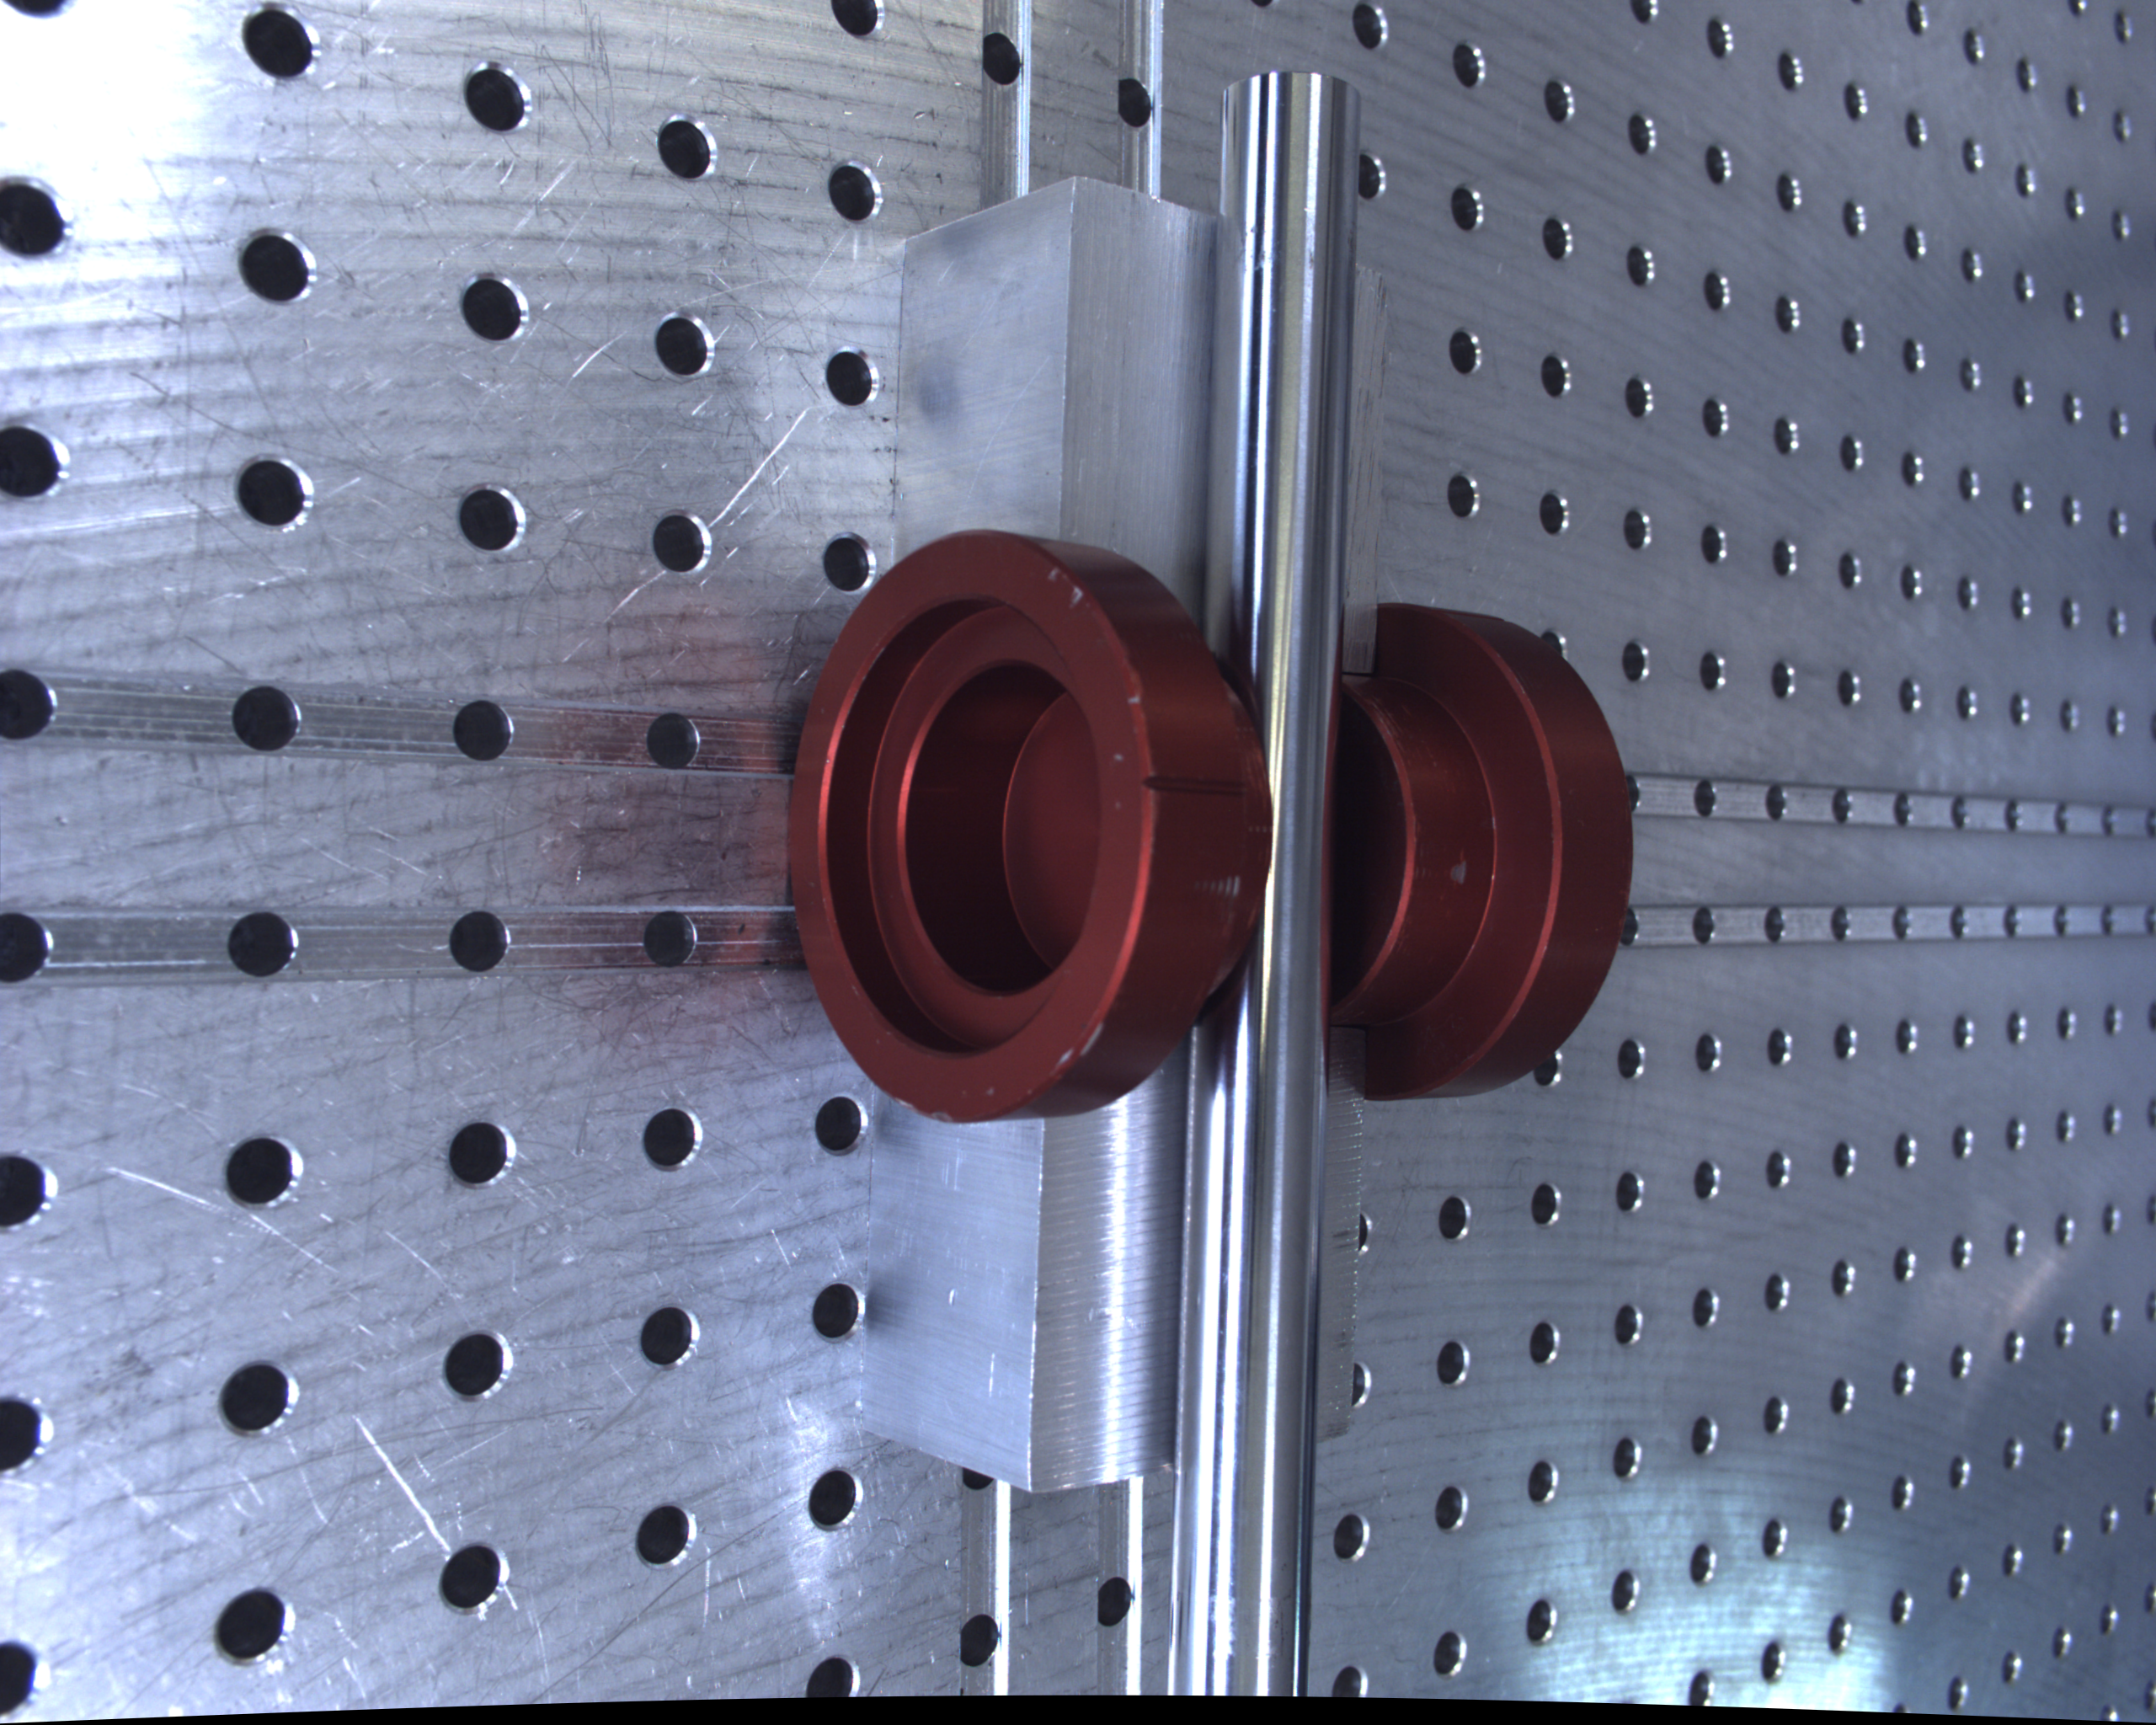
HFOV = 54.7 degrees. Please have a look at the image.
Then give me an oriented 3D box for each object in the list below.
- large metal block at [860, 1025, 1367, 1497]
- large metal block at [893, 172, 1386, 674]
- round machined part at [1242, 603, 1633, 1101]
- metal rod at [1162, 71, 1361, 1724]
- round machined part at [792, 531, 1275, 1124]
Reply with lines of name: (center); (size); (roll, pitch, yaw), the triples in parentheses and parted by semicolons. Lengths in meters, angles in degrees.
large metal block: (0.008, 0.069, 0.399); (0.081, 0.050, 0.080); (4, 88, -40)
large metal block: (0.012, -0.078, 0.403); (0.081, 0.050, 0.080); (3, 88, -40)
round machined part: (0.057, -0.002, 0.409); (0.042, 0.098, 0.097); (2, 89, -35)
metal rod: (0.033, 0.012, 0.371); (0.025, 0.025, 0.298); (3, 88, -40)
round machined part: (-0.005, -0.005, 0.356); (0.042, 0.098, 0.097); (3, 89, -40)
